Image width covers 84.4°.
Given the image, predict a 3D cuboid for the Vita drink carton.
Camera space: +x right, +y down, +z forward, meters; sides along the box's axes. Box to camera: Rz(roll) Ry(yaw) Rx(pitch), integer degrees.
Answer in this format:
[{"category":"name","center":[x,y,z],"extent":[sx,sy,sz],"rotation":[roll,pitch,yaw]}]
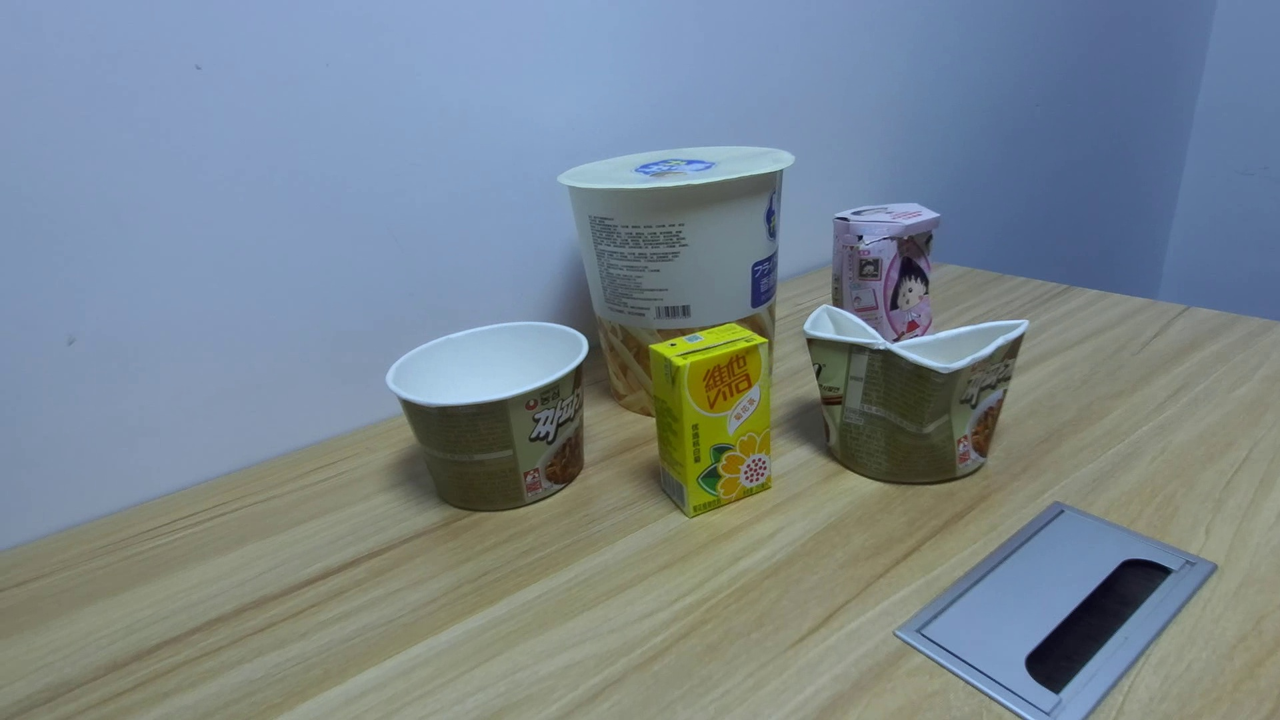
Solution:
[{"category":"Vita drink carton","center":[0.047,0.037,0.459],"extent":[0.067,0.109,0.043],"rotation":[-16,26,-22]}]

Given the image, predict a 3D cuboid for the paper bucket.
[{"category":"paper bucket","center":[0.038,-0.068,0.603],"extent":[0.198,0.195,0.198],"rotation":[-5,23,3]}]

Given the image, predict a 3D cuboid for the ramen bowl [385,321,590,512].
[{"category":"ramen bowl","center":[-0.102,0.041,0.518],"extent":[0.140,0.095,0.140],"rotation":[-4,23,2]}]

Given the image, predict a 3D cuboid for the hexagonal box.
[{"category":"hexagonal box","center":[0.214,-0.065,0.630],"extent":[0.091,0.134,0.090],"rotation":[-3,21,8]}]

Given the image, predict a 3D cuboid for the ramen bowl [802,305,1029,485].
[{"category":"ramen bowl","center":[0.181,0.016,0.496],"extent":[0.112,0.093,0.127],"rotation":[-25,30,-35]}]
